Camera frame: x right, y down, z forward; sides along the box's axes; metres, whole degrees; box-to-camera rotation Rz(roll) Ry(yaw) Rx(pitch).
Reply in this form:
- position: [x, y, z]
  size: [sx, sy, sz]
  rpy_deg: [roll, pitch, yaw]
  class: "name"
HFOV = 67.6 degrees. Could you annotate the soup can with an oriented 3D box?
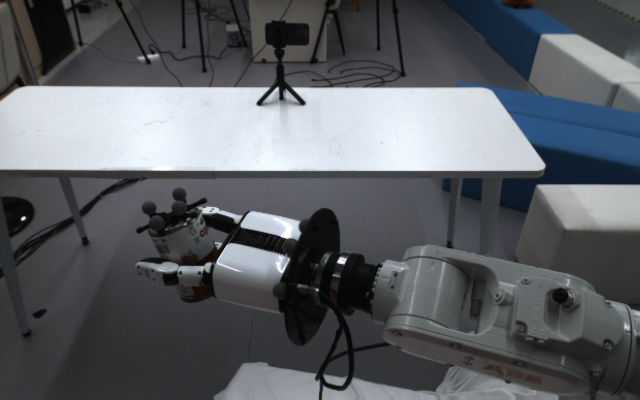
- position: [-0.161, 0.069, 0.606]
  size: [0.067, 0.101, 0.067]
  rpy_deg: [-16, 23, 7]
  class: "soup can"
